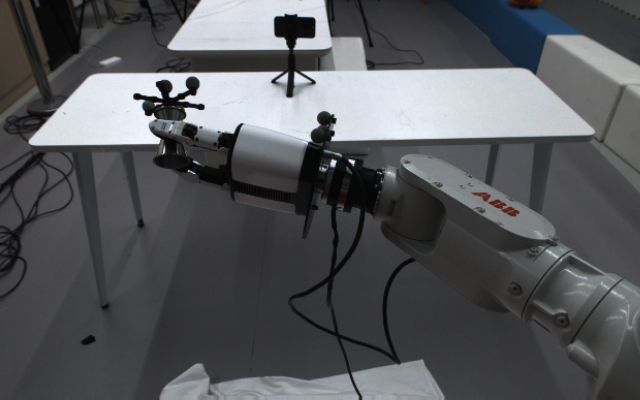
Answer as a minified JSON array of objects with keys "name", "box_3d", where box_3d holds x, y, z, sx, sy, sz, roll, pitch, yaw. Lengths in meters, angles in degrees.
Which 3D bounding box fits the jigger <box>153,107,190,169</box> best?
[{"name":"jigger","box_3d":[-0.188,-0.078,0.611,0.043,0.043,0.071,-5,72,-10]}]
